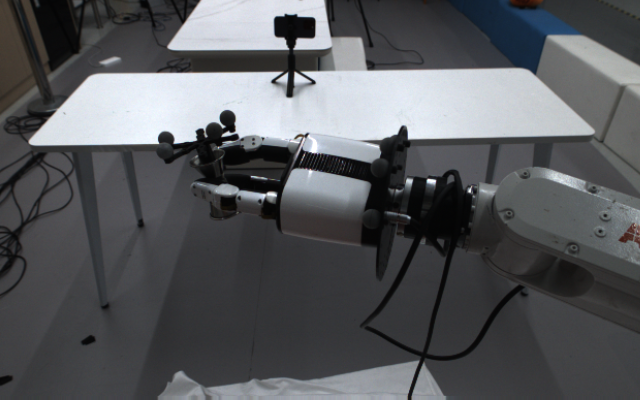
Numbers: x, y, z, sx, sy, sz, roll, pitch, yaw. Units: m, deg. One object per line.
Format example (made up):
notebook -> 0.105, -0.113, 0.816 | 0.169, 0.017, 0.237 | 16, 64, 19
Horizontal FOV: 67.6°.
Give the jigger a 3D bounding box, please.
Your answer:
jigger -> -0.112, -0.017, 0.540 | 0.043, 0.071, 0.043 | -12, 29, 7
